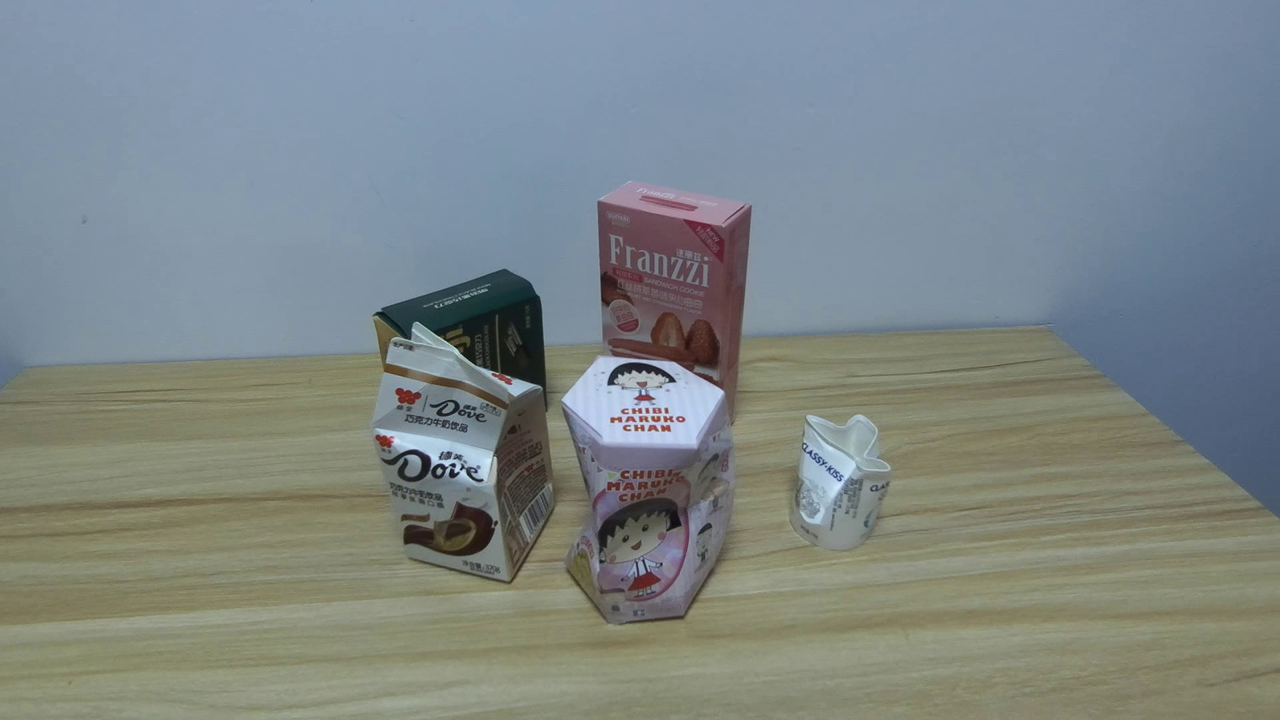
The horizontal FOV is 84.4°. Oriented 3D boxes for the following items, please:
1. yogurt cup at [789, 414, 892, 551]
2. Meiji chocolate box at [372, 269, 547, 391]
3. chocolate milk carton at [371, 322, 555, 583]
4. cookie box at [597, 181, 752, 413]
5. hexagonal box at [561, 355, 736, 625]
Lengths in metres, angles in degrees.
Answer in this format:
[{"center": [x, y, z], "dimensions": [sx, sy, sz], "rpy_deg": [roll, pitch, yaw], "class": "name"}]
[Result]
[{"center": [0.130, 0.078, 0.454], "dimensions": [0.055, 0.072, 0.055], "rpy_deg": [2, 33, 2], "class": "yogurt cup"}, {"center": [-0.133, 0.000, 0.542], "dimensions": [0.123, 0.116, 0.058], "rpy_deg": [-22, 40, -32], "class": "Meiji chocolate box"}, {"center": [-0.103, 0.049, 0.423], "dimensions": [0.076, 0.156, 0.073], "rpy_deg": [10, 35, 14], "class": "chocolate milk carton"}, {"center": [0.024, -0.028, 0.518], "dimensions": [0.096, 0.185, 0.048], "rpy_deg": [17, 36, 25], "class": "cookie box"}, {"center": [-0.002, 0.075, 0.401], "dimensions": [0.089, 0.135, 0.093], "rpy_deg": [-23, 39, -33], "class": "hexagonal box"}]
